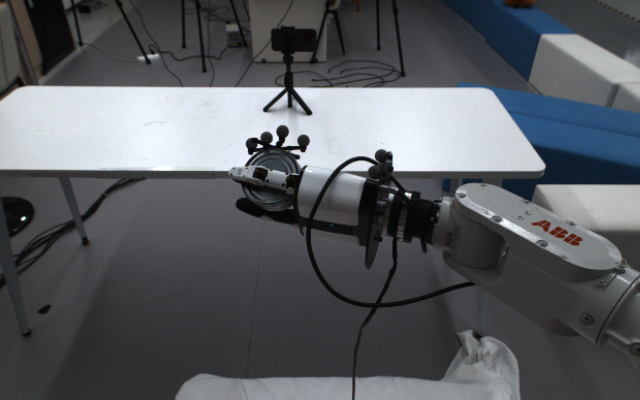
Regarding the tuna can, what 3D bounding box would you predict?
[{"bbox_3d":[-0.066,-0.028,0.682,0.085,0.034,0.085,-5,70,14],"label":"tuna can"}]
